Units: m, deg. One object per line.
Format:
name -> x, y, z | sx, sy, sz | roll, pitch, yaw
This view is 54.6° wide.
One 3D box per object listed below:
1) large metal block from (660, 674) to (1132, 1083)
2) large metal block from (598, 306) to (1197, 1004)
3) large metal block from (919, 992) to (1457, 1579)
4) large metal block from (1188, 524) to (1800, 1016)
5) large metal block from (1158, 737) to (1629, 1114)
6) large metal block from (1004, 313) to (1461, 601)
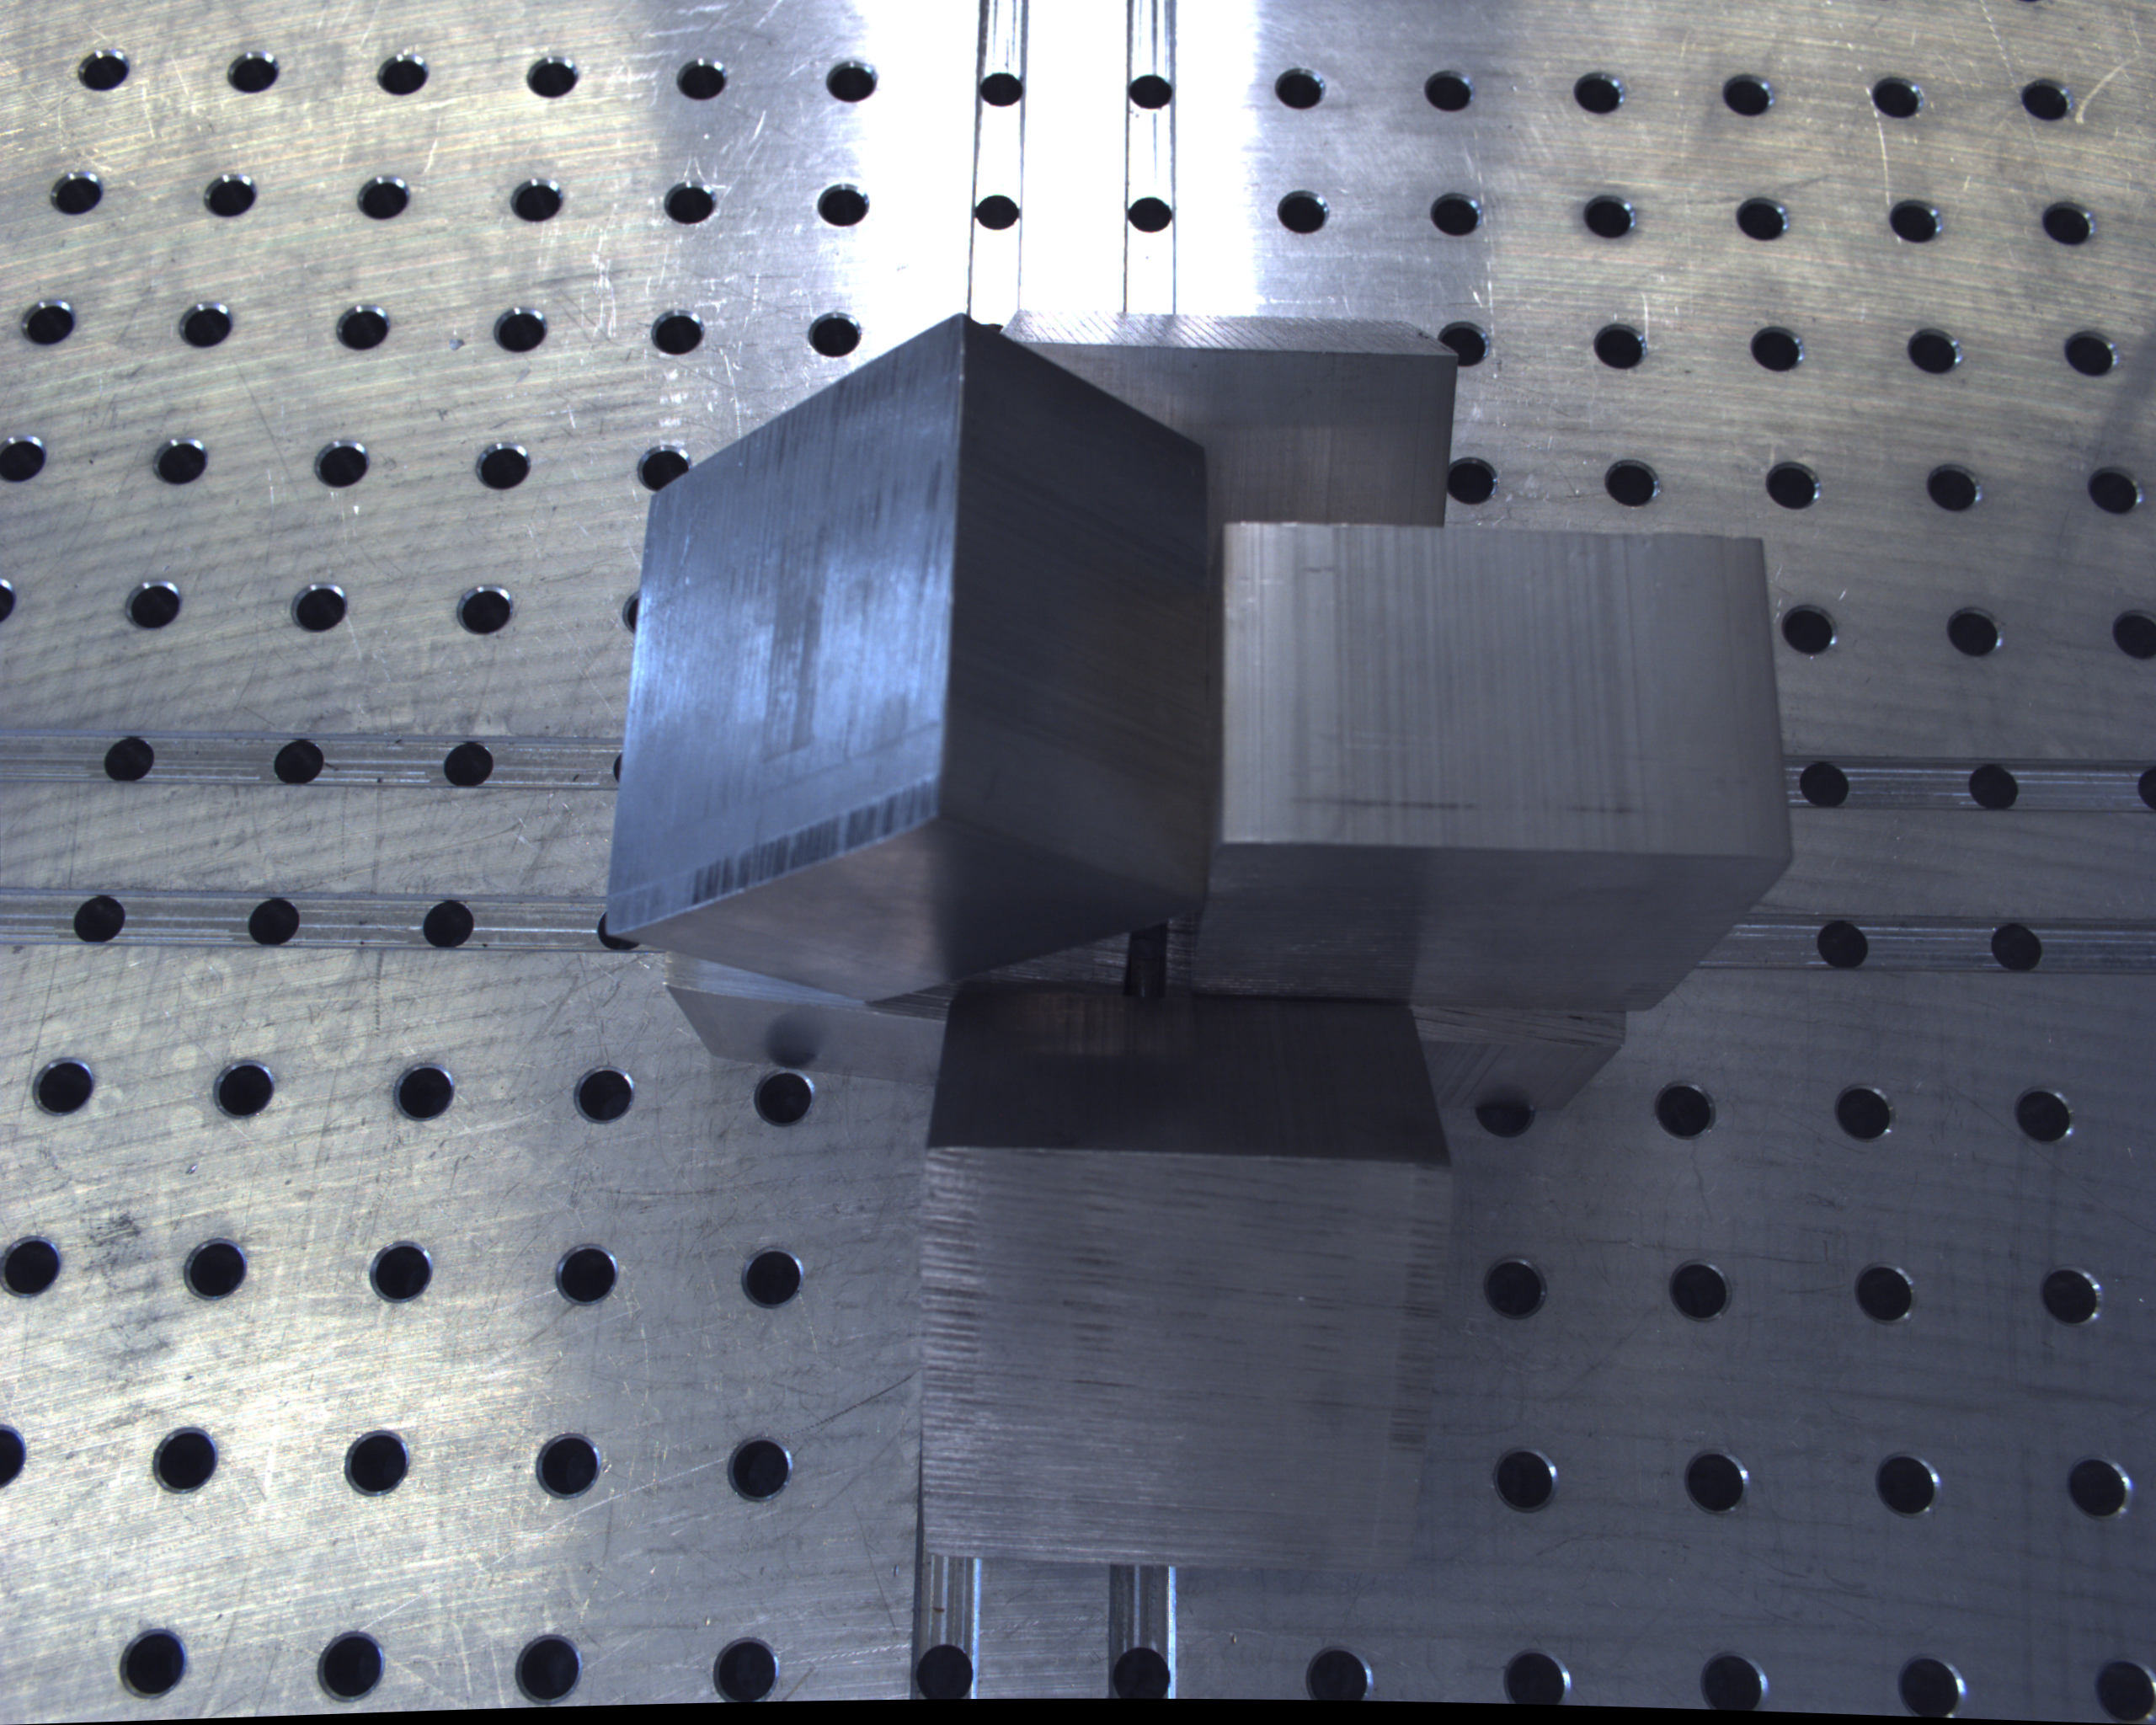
large metal block -> -0.028, -0.002, 0.400 | 0.080, 0.050, 0.080 | 7, 70, 2
large metal block -> -0.028, -0.028, 0.331 | 0.080, 0.050, 0.080 | -17, 63, 42
large metal block -> 0.016, 0.070, 0.351 | 0.080, 0.050, 0.079 | 2, 115, 1
large metal block -> 0.060, -0.011, 0.334 | 0.080, 0.080, 0.050 | 2, 70, 0
large metal block -> 0.057, 0.001, 0.398 | 0.080, 0.050, 0.080 | 3, 70, 1
large metal block -> 0.026, -0.078, 0.403 | 0.080, 0.080, 0.050 | 2, 108, 1
